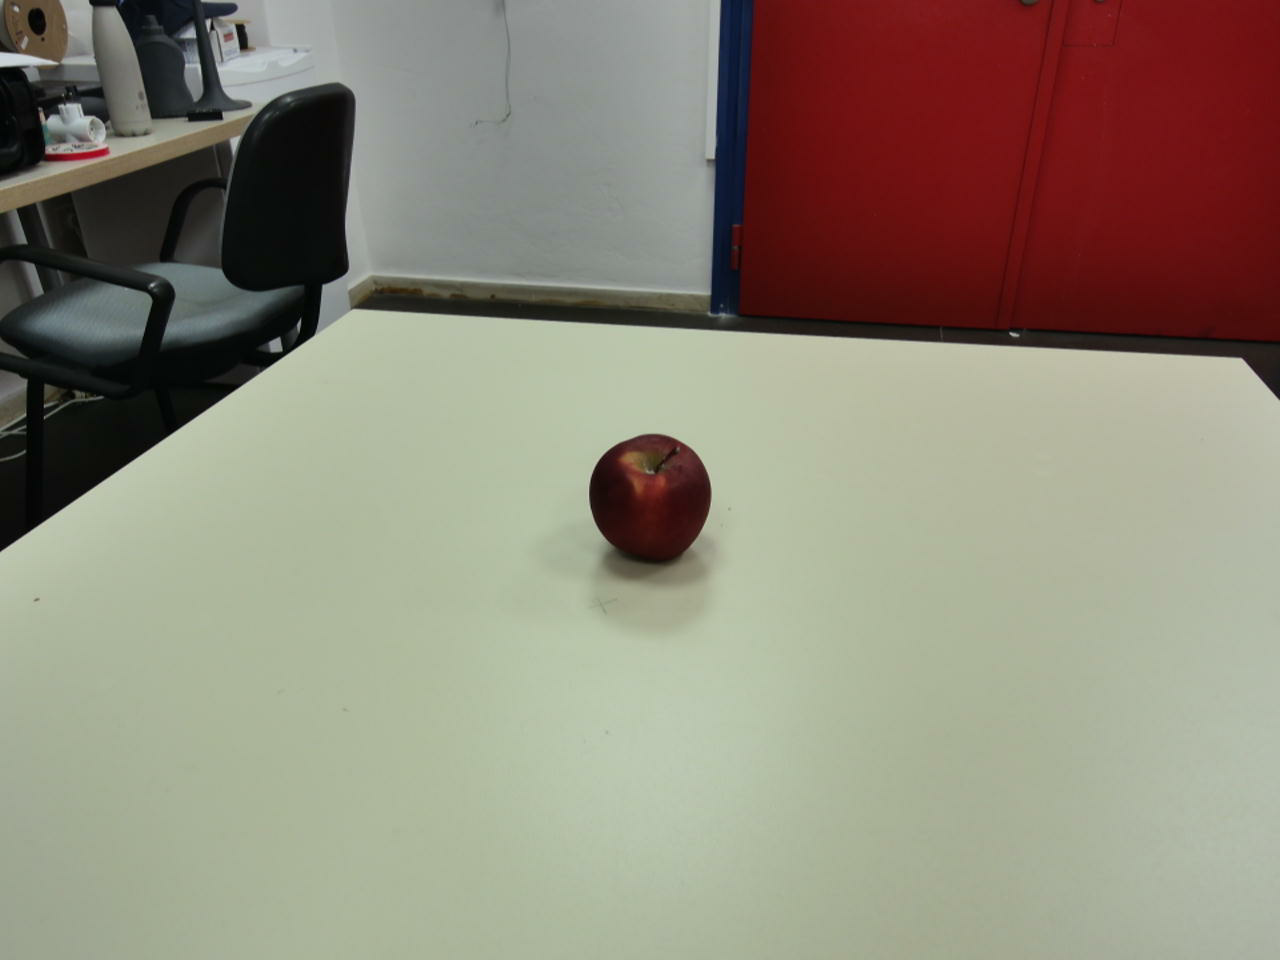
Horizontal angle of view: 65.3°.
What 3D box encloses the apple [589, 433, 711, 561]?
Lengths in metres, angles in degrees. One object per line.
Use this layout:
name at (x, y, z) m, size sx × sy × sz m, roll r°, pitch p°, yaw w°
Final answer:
apple at (0.006, 0.010, 0.564) m, size 0.070 × 0.072 × 0.070 m, roll 1°, pitch 26°, yaw 0°
